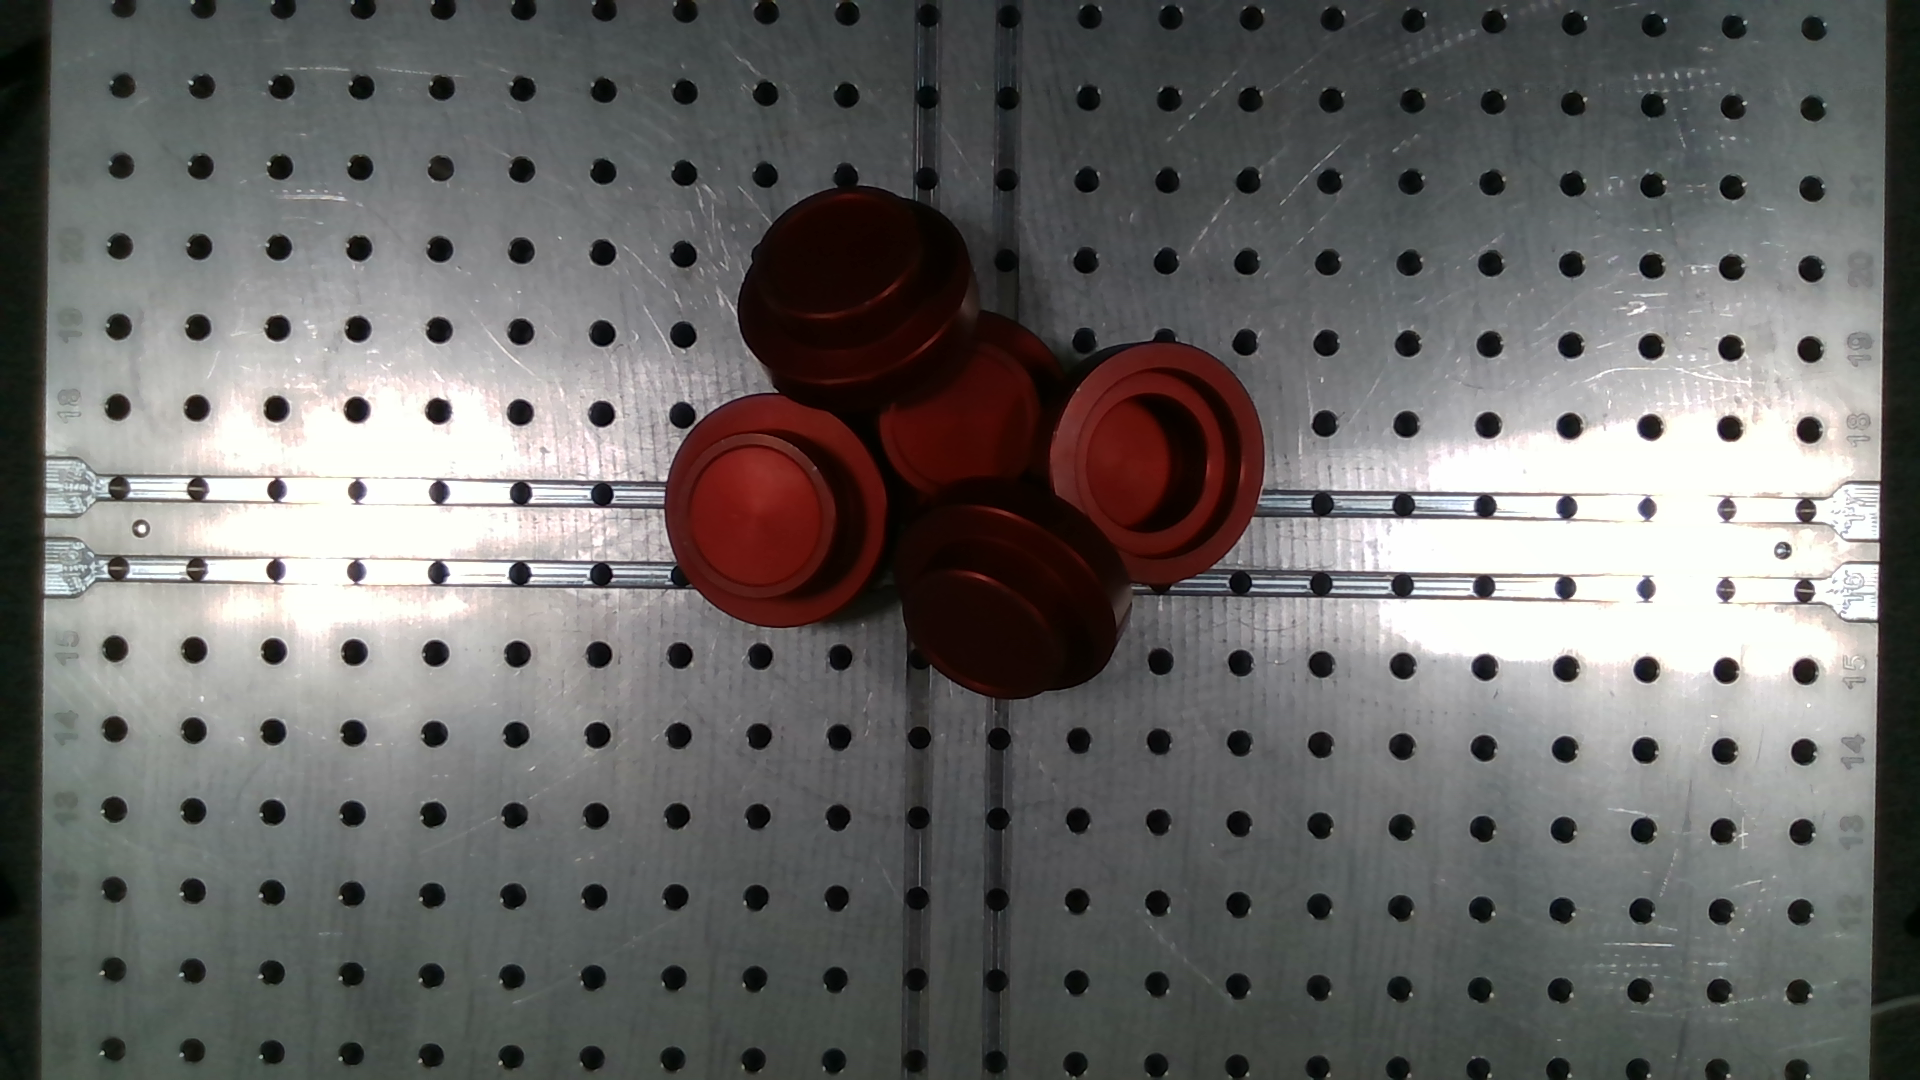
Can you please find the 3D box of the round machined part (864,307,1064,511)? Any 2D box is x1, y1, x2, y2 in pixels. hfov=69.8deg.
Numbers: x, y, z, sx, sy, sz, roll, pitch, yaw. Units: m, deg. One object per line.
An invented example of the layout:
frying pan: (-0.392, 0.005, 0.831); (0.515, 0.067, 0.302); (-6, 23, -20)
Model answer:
round machined part: (0.000, -0.050, 0.579); (0.098, 0.042, 0.098); (0, 90, 0)

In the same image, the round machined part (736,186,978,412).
round machined part: (-0.044, -0.104, 0.556); (0.098, 0.042, 0.098); (-6, 59, 11)

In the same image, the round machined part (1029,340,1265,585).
round machined part: (0.073, -0.033, 0.569); (0.098, 0.042, 0.098); (-2, 96, -21)

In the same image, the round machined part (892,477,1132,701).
round machined part: (0.016, 0.026, 0.552); (0.098, 0.098, 0.042); (34, 49, 0)

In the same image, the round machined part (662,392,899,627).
round machined part: (-0.078, -0.012, 0.568); (0.098, 0.042, 0.098); (1, 97, 11)
